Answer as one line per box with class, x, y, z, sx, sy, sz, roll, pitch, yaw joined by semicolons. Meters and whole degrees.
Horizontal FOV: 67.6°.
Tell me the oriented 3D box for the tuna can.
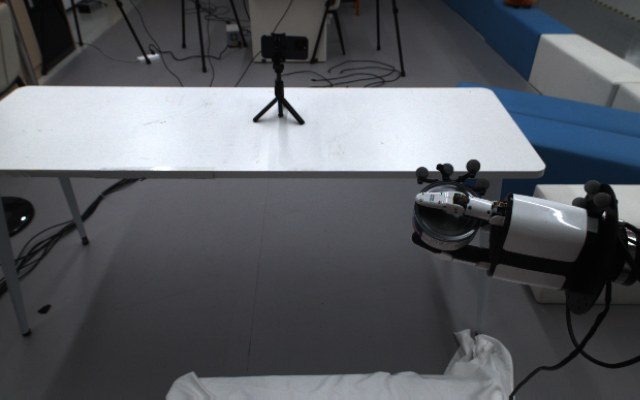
tuna can;0.162;0.014;0.615;0.085;0.034;0.085;-2;56;3
